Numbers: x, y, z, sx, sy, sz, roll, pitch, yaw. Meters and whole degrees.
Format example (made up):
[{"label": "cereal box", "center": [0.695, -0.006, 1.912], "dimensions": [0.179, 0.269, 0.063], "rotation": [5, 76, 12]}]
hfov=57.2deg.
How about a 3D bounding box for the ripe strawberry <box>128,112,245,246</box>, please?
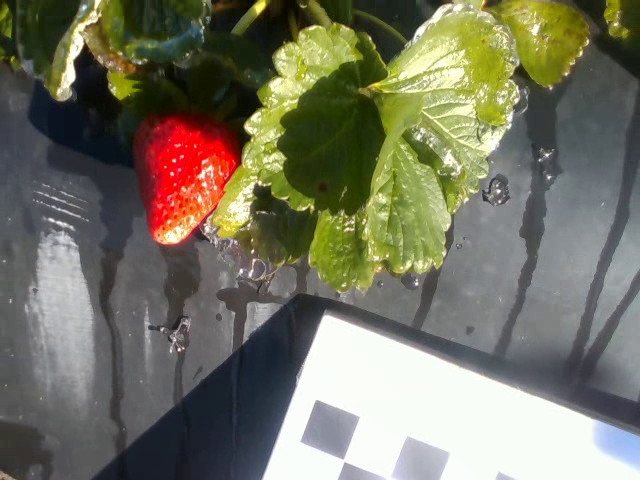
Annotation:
[{"label": "ripe strawberry", "center": [-0.049, -0.019, 0.199], "dimensions": [0.042, 0.052, 0.047], "rotation": [15, -32, 3]}]
